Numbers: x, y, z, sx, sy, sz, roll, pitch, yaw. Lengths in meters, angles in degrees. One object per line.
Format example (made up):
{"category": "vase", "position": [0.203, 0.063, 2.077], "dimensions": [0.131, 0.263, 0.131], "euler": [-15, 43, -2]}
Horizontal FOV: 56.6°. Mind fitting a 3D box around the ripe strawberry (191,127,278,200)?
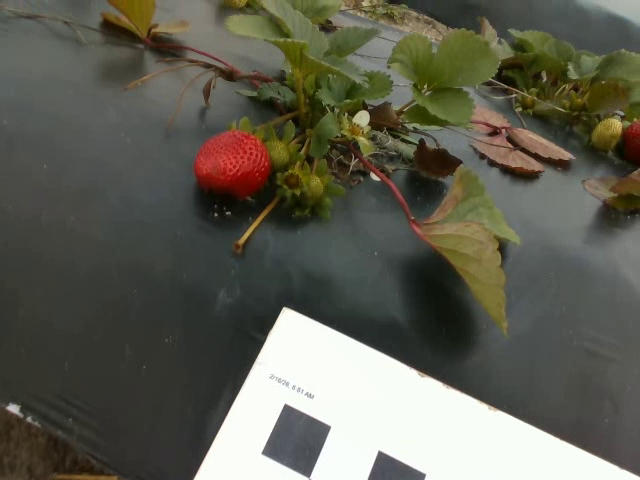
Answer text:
{"category": "ripe strawberry", "position": [-0.015, -0.012, 0.092], "dimensions": [0.018, 0.014, 0.017], "euler": [33, 24, 1]}
